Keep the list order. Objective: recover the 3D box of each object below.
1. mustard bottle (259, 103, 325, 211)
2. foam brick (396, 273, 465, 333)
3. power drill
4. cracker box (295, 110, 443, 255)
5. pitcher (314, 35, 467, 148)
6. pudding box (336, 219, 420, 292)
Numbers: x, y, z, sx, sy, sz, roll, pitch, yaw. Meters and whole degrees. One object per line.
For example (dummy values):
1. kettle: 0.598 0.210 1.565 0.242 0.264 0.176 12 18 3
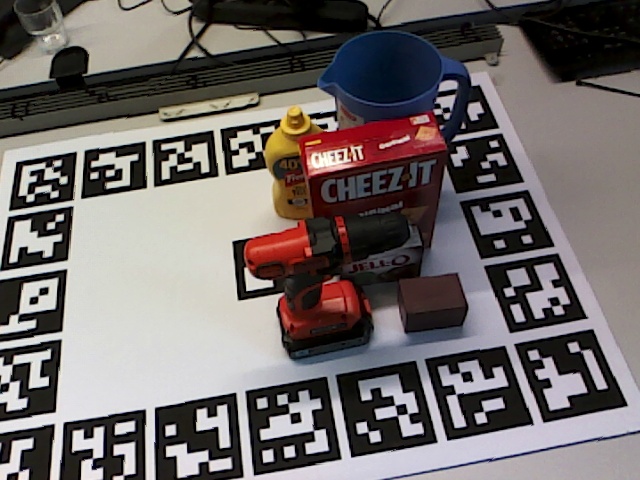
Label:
1. mustard bottle: -0.033 -0.115 0.849 0.096 0.191 0.058 1 58 6
2. foam brick: 0.141 0.082 0.799 0.078 0.051 0.053 -8 58 0
3. power drill: 0.015 0.045 0.714 0.184 0.186 0.057 -11 53 -2
4. cracker box: 0.067 -0.049 0.789 0.164 0.213 0.072 -13 55 0
5. pitcher: 0.097 -0.144 0.842 0.189 0.241 0.134 -6 57 4
6. pudding box: 0.072 0.021 0.806 0.114 0.089 0.039 -11 55 2
